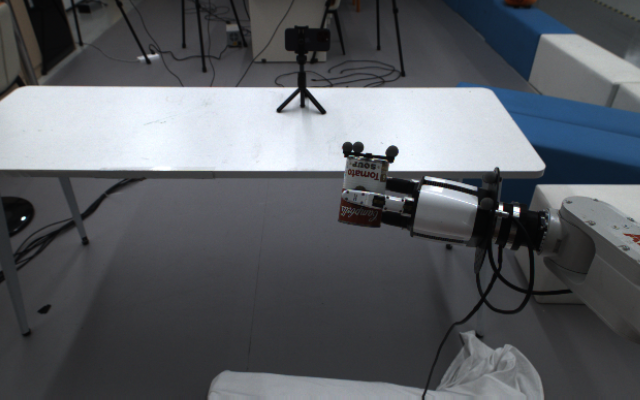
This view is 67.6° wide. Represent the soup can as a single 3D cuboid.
[{"bbox_3d":[0.068,-0.014,0.748,0.067,0.101,0.067,7,4,0],"label":"soup can"}]
